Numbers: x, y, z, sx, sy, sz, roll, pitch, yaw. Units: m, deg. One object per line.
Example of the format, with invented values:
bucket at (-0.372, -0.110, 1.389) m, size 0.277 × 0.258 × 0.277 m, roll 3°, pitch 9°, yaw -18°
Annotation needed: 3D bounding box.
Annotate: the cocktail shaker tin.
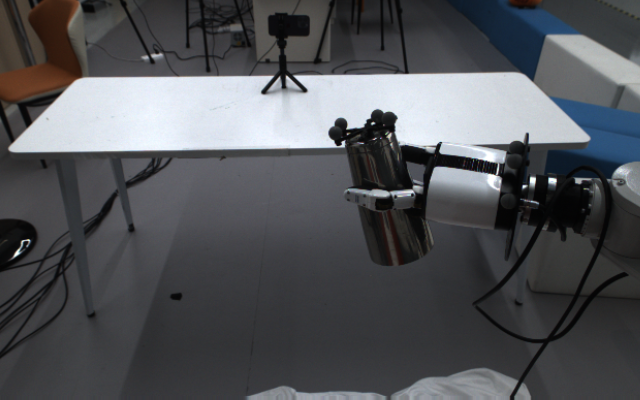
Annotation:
cocktail shaker tin at (0.089, -0.008, 0.649) m, size 0.093 × 0.170 × 0.093 m, roll -17°, pitch 20°, yaw 7°
